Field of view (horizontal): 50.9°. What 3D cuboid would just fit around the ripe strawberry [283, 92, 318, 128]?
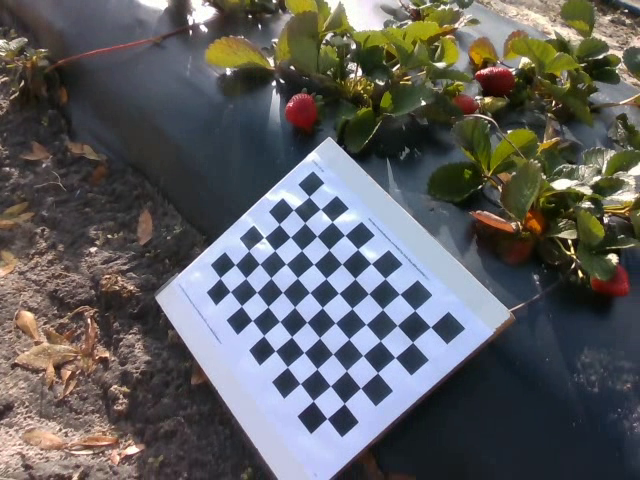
[{"bbox_3d":[-0.025,-0.131,0.663,0.041,0.041,0.047,11,18,36],"label":"ripe strawberry"}]
